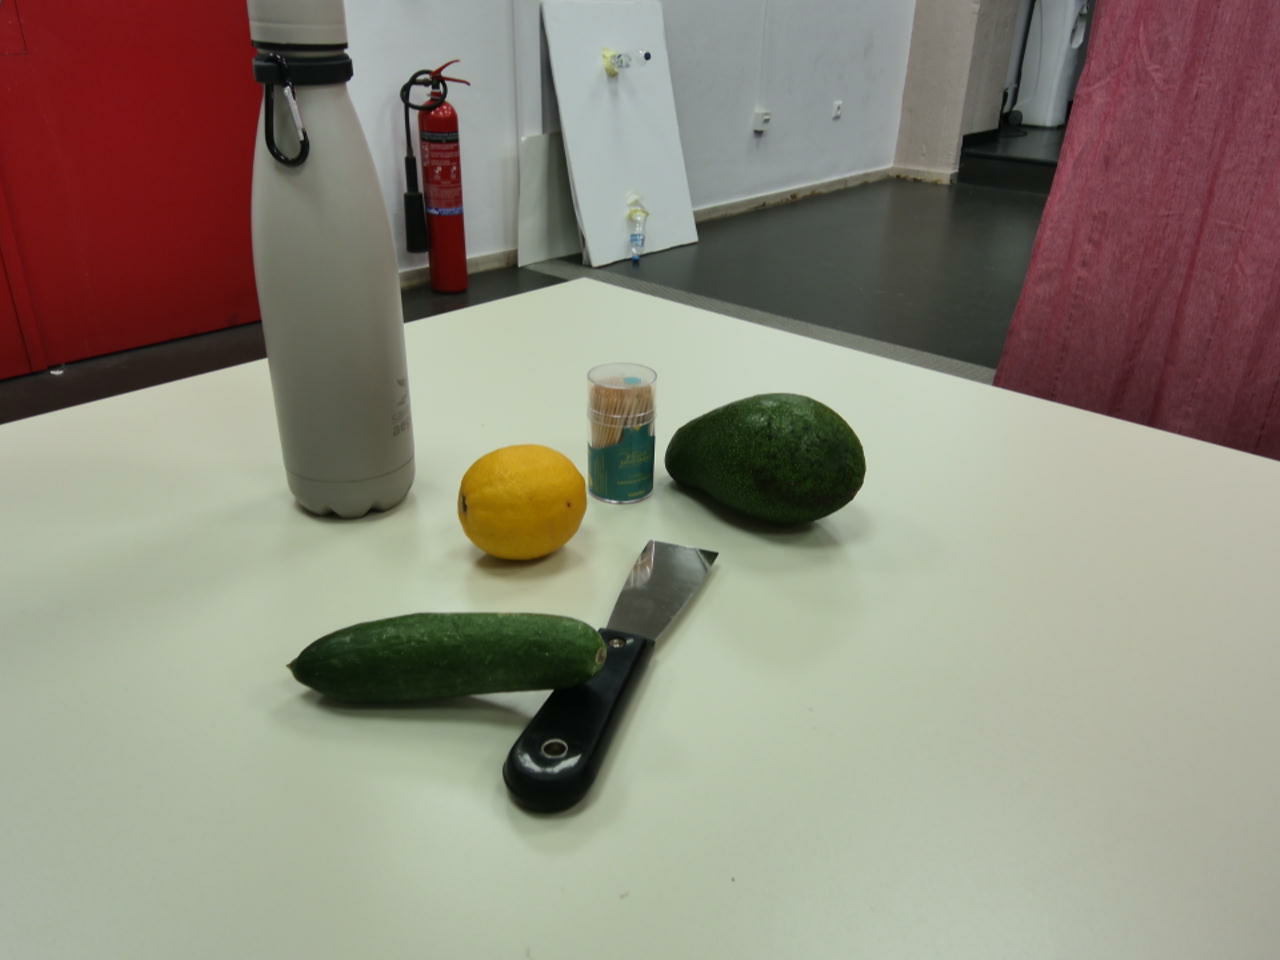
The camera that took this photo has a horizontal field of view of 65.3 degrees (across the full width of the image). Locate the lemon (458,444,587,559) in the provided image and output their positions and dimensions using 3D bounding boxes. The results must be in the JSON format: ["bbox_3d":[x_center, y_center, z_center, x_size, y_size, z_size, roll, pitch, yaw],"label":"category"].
[{"bbox_3d":[-0.061,0.012,0.520,0.067,0.059,0.060,-2,25,-6],"label":"lemon"}]
